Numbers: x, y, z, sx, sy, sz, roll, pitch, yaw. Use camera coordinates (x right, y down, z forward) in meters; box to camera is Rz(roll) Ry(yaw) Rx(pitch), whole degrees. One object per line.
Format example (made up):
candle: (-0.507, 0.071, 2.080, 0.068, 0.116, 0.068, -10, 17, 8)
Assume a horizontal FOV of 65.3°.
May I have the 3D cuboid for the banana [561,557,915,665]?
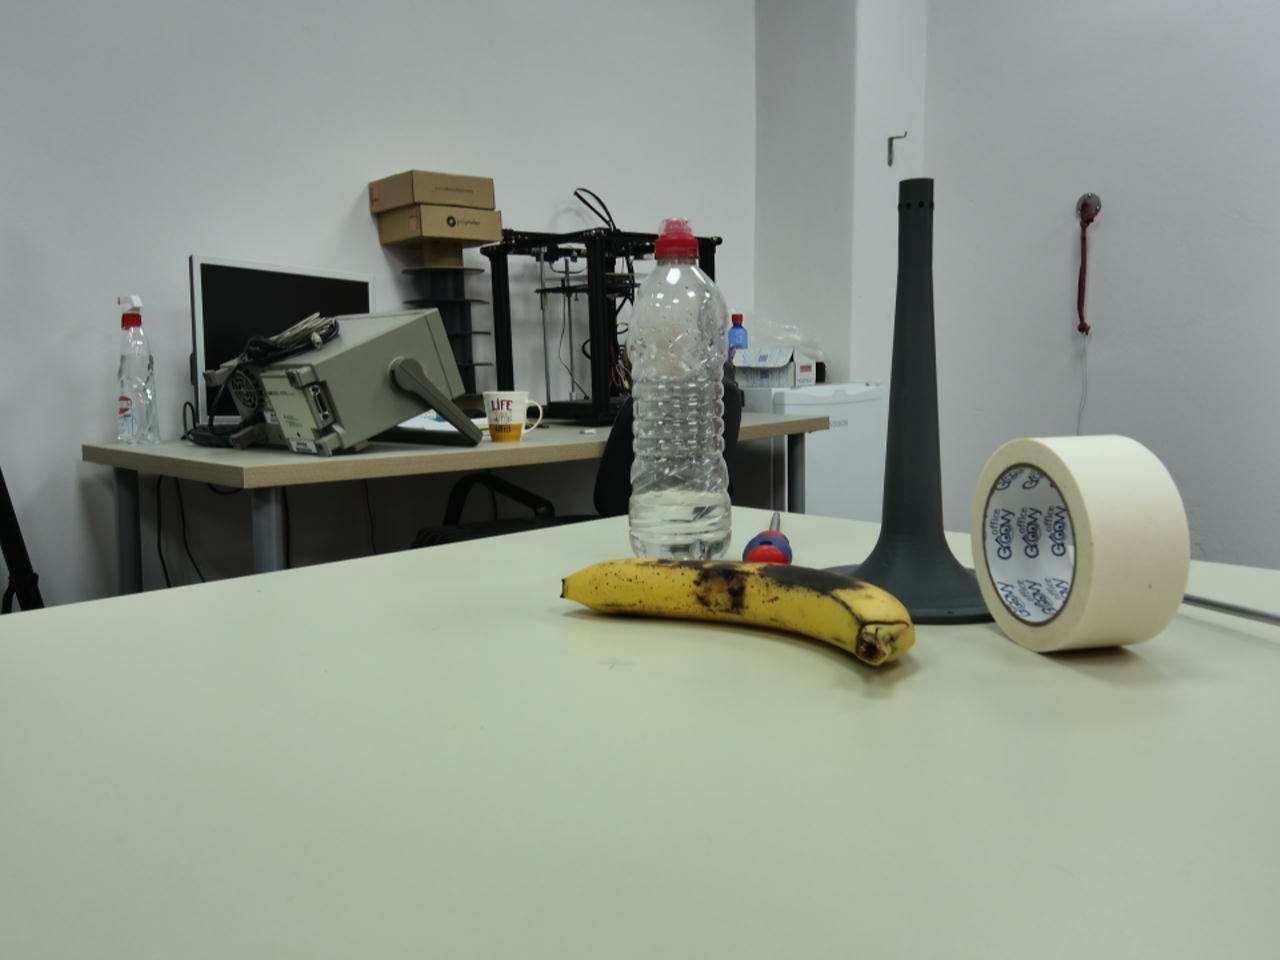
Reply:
banana: (0.057, 0.065, 0.541, 0.084, 0.037, 0.222, -4, 7, -42)
